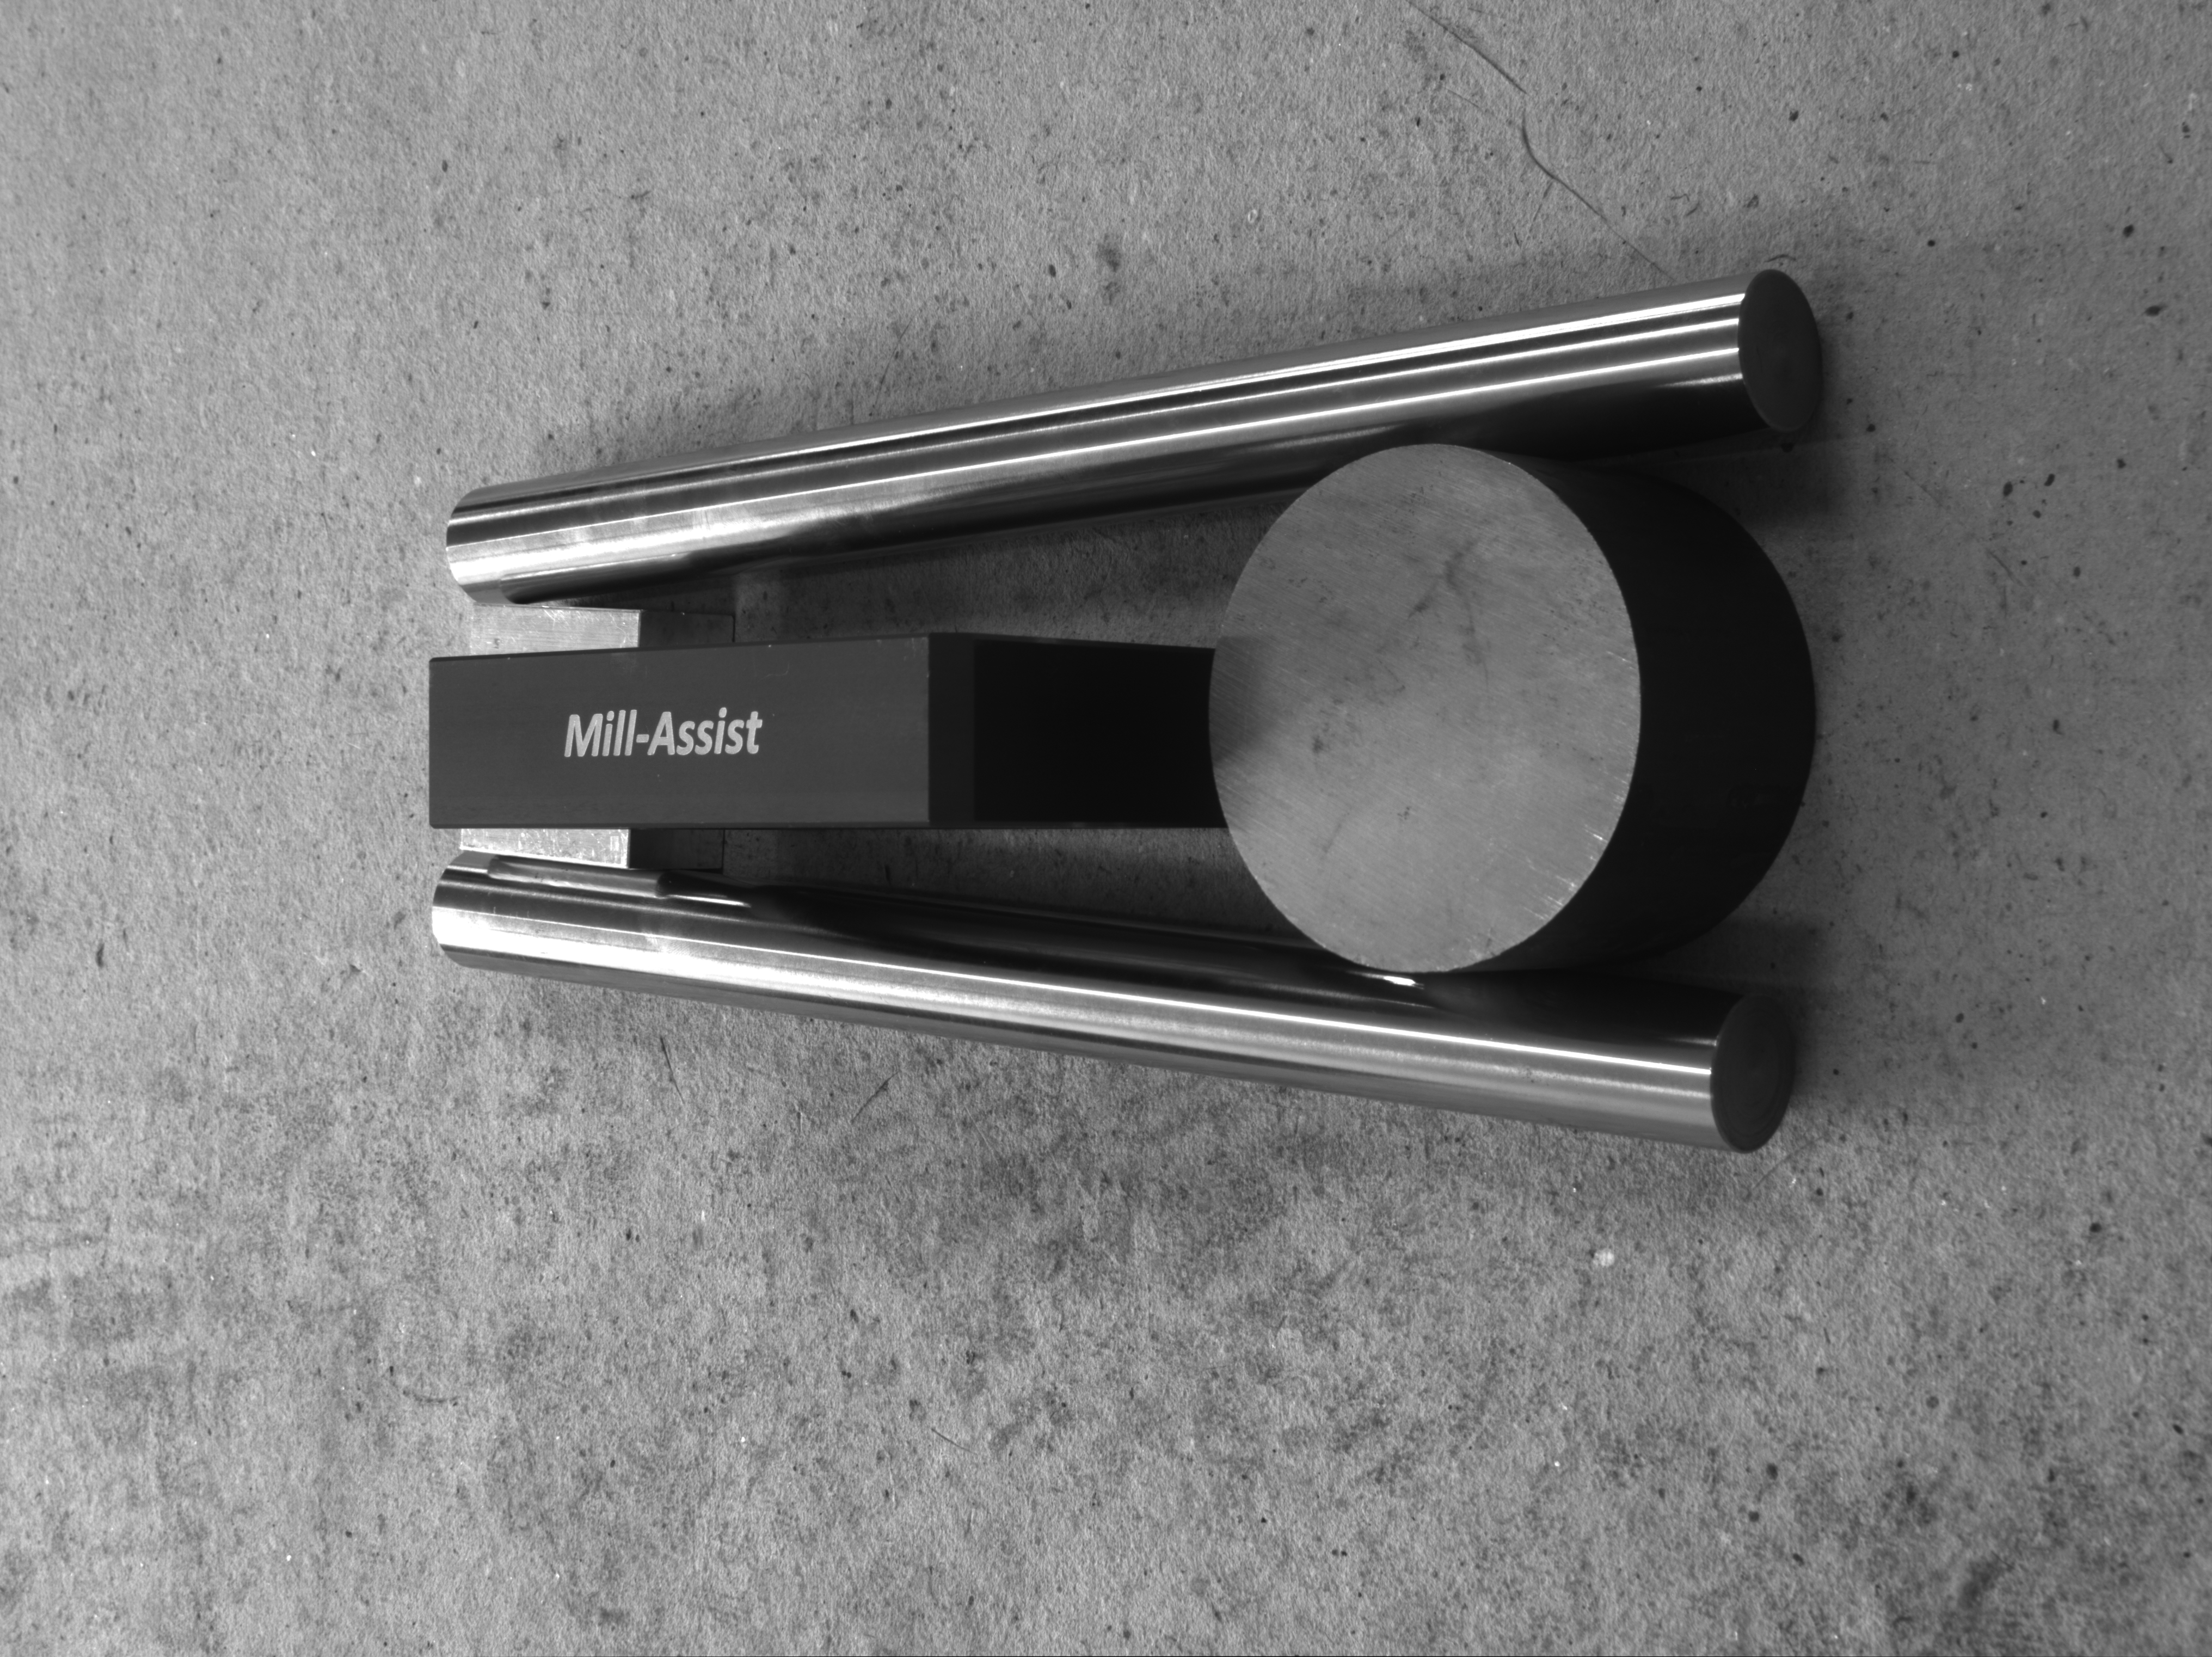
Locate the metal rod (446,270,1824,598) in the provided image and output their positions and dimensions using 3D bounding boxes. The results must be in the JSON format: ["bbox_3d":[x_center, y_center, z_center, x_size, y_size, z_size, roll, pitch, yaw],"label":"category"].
[{"bbox_3d":[-0.011,-0.065,0.656,0.299,0.025,0.025,-4,88,40],"label":"metal rod"}]

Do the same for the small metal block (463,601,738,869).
[{"bbox_3d":[-0.101,-0.019,0.732,0.050,0.025,0.050,5,93,40],"label":"small metal block"}]

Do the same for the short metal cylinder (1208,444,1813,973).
[{"bbox_3d":[0.063,-0.018,0.576,0.080,0.050,0.080,0,90,40],"label":"short metal cylinder"}]

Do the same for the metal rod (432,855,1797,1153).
[{"bbox_3d":[-0.015,0.027,0.658,0.299,0.025,0.025,5,93,40],"label":"metal rod"}]

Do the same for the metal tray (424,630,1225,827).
[{"bbox_3d":[-0.045,-0.015,0.639,0.130,0.090,0.030,0,90,41],"label":"metal tray"}]
